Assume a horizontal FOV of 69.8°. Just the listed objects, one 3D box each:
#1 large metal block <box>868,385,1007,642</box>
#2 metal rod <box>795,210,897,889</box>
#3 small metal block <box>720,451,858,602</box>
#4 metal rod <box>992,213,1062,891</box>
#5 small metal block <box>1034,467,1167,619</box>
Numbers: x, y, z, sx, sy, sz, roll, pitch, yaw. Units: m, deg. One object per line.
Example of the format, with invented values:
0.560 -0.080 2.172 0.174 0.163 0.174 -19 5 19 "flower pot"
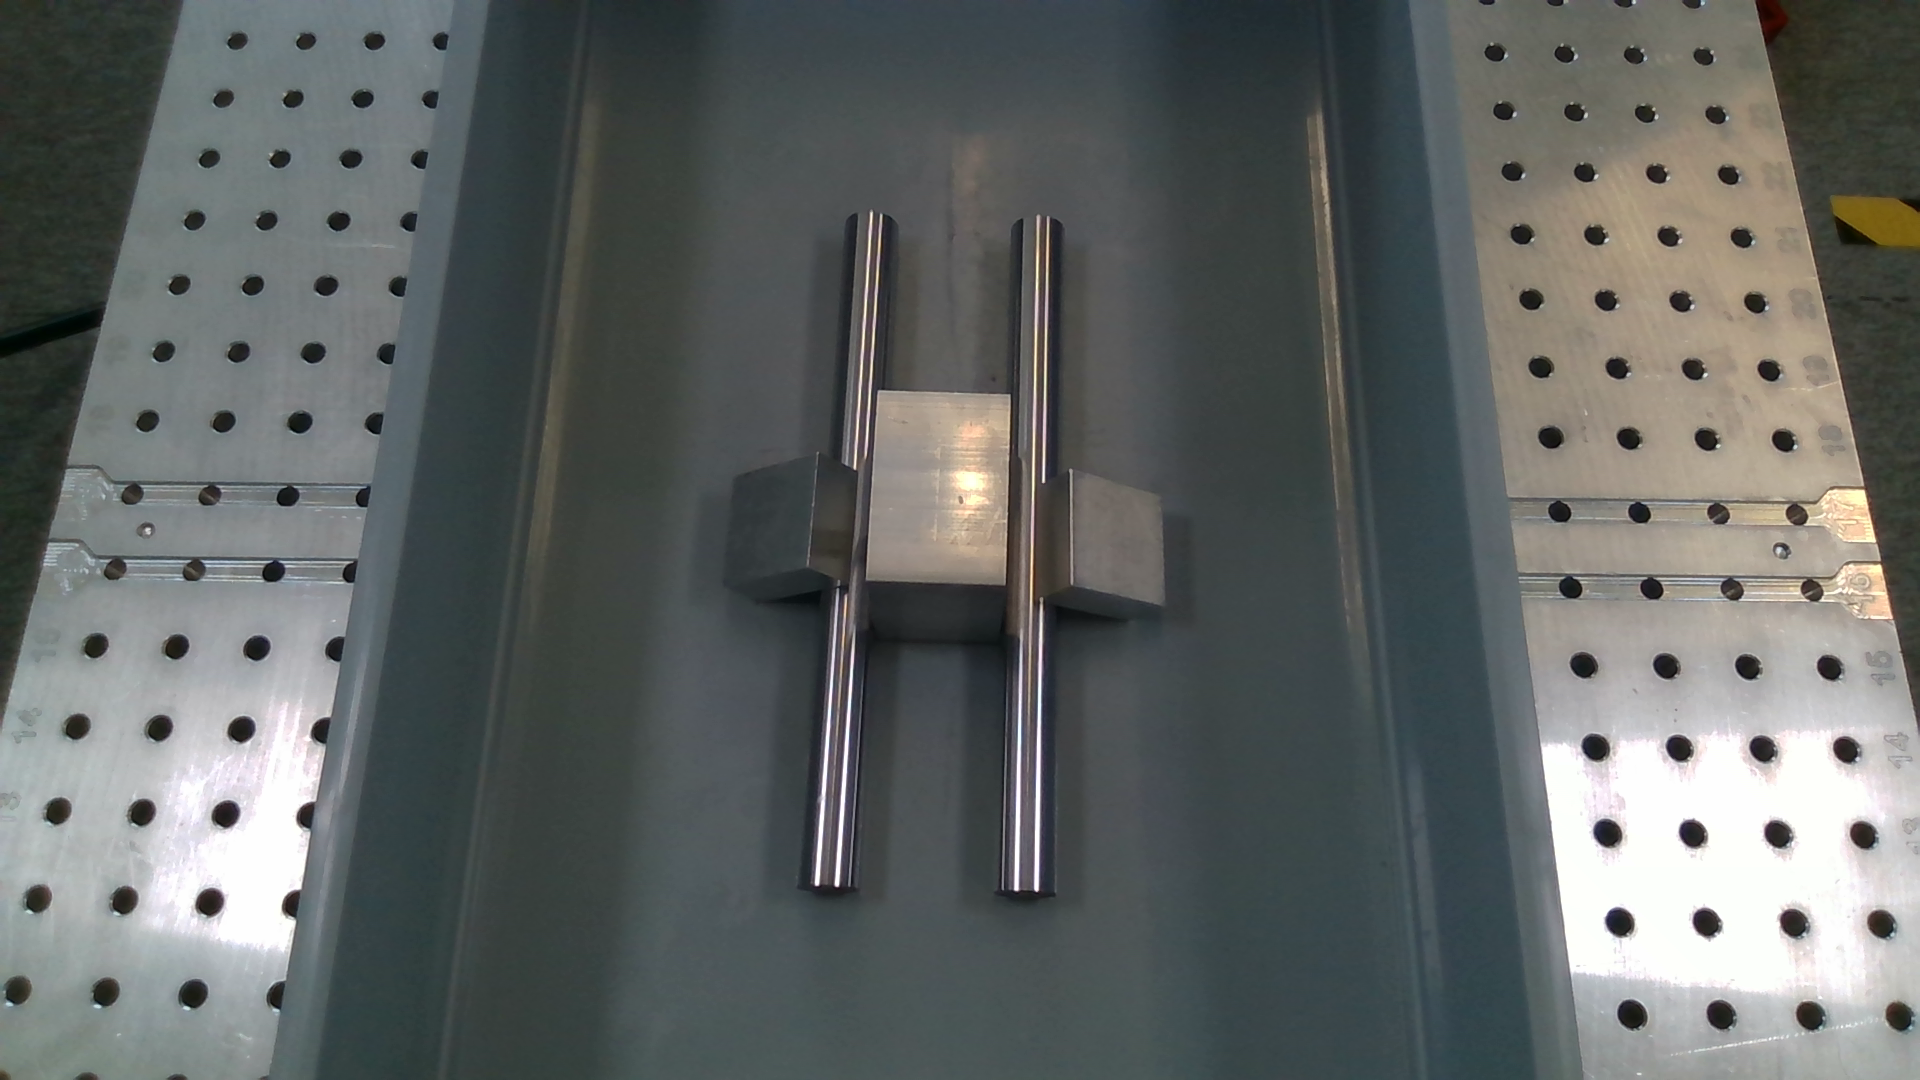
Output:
-0.008 -0.008 0.560 0.050 0.080 0.080 2 70 1 "large metal block"
-0.047 -0.005 0.589 0.025 0.025 0.299 2 70 1 "metal rod"
-0.071 -0.005 0.576 0.050 0.025 0.050 -12 66 36 "small metal block"
0.030 -0.004 0.588 0.025 0.025 0.299 2 70 1 "metal rod"
0.058 0.002 0.574 0.050 0.025 0.050 14 67 -32 "small metal block"
